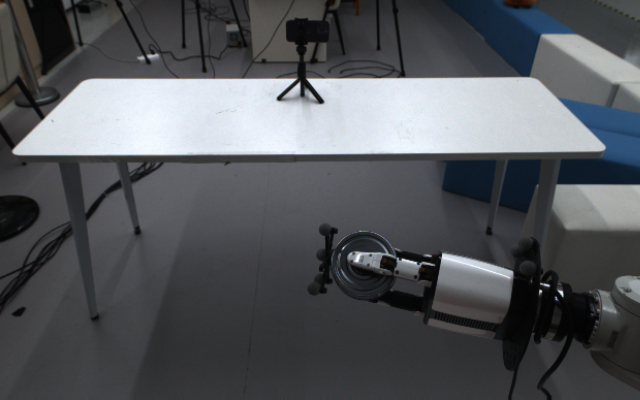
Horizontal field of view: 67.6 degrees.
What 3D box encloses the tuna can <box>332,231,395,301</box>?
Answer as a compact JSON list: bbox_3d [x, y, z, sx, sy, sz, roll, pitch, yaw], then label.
[{"bbox_3d":[0.060,0.086,0.616,0.085,0.034,0.085,-2,69,6],"label":"tuna can"}]
